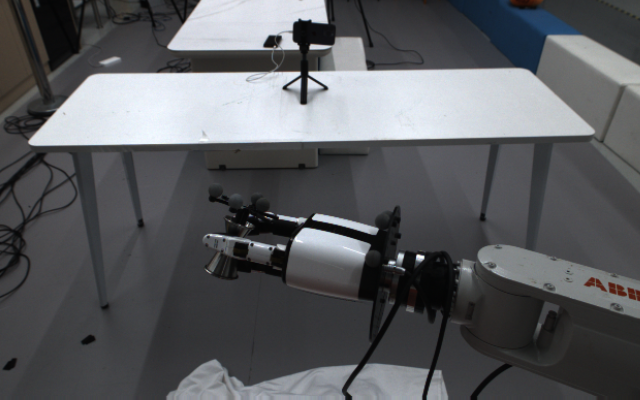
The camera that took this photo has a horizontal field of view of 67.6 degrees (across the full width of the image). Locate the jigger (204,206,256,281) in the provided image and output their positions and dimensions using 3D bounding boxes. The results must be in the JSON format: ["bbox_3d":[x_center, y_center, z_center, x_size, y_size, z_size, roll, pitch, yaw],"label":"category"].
[{"bbox_3d":[-0.109,0.057,0.585,0.043,0.071,0.043,21,6,-2],"label":"jigger"}]
